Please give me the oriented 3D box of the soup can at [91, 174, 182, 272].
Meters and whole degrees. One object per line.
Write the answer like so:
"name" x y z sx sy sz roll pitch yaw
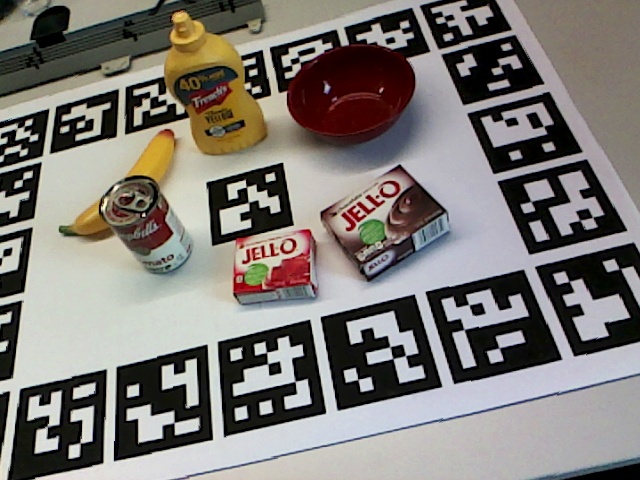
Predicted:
"soup can" -0.207 -0.018 0.709 0.068 0.101 0.068 -6 53 8

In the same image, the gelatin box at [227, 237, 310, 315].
"gelatin box" -0.058 0.040 0.686 0.089 0.030 0.073 -9 58 9

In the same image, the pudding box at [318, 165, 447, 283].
"pudding box" 0.069 -0.018 0.688 0.114 0.038 0.090 -34 60 -9

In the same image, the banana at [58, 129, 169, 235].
"banana" -0.256 -0.074 0.812 0.075 0.038 0.197 18 62 36

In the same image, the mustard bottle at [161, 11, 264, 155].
"mustard bottle" -0.138 -0.191 0.754 0.096 0.190 0.058 -14 51 4

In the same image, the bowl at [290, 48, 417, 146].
"bowl" 0.046 -0.173 0.795 0.162 0.055 0.162 -8 54 11
